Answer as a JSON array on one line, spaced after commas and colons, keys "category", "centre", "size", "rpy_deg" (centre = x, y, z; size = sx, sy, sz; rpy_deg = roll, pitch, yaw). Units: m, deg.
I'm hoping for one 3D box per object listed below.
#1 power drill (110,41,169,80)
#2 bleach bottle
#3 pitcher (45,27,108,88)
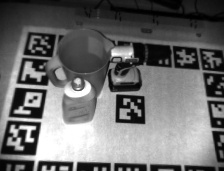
[{"category": "power drill", "centre": [0.073, -0.073, 0.675], "size": [0.185, 0.186, 0.057], "rpy_deg": [1, 71, -11]}, {"category": "bleach bottle", "centre": [-0.108, 0.013, 0.587], "size": [0.103, 0.251, 0.067], "rpy_deg": [-3, 69, -6]}, {"category": "pitcher", "centre": [-0.094, -0.073, 0.644], "size": [0.190, 0.243, 0.132], "rpy_deg": [-21, 73, -13]}]
